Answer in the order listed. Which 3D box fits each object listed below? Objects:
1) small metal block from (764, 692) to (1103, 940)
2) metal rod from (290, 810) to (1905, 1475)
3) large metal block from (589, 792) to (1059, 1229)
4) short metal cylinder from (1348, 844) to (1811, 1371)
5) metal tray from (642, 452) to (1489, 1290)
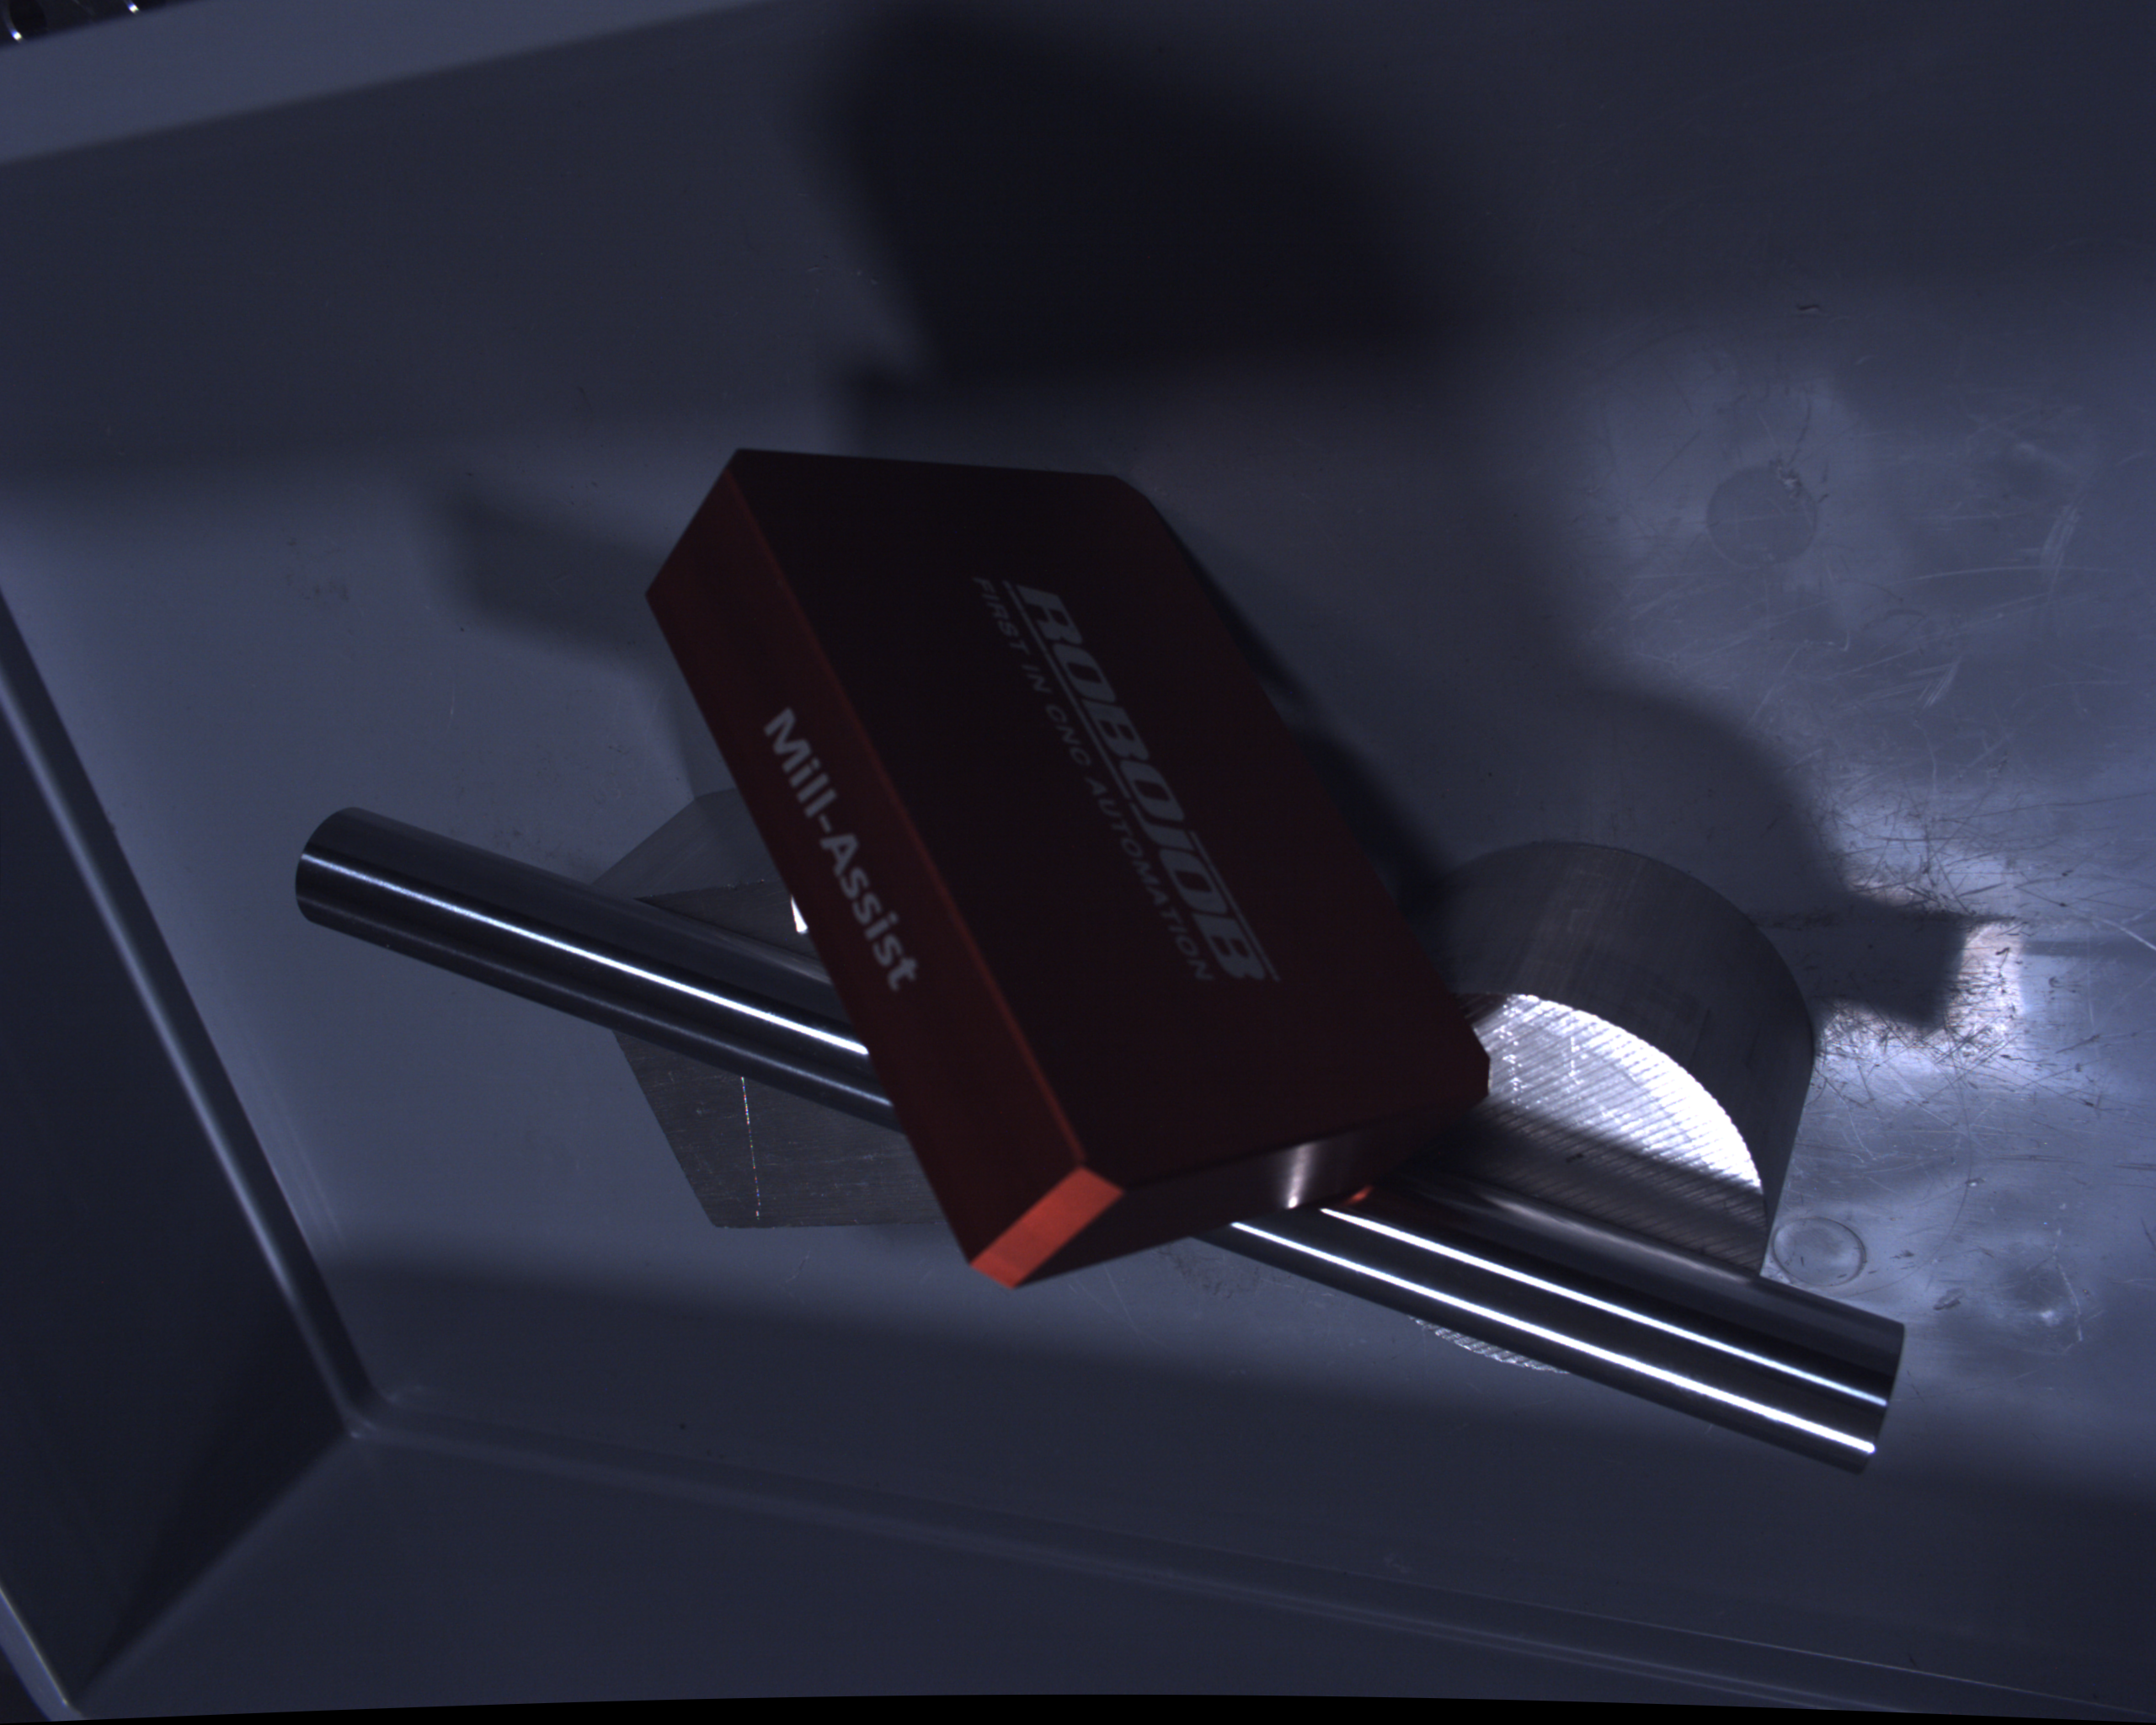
[{"bbox_3d":[-0.027,-0.016,0.366,0.050,0.025,0.050,-15,77,5],"label":"small metal block"},{"bbox_3d":[-0.012,0.043,0.372,0.301,0.025,0.025,17,125,18],"label":"metal rod"},{"bbox_3d":[-0.048,0.027,0.432,0.080,0.050,0.080,-8,115,31],"label":"large metal block"},{"bbox_3d":[0.085,0.044,0.372,0.080,0.050,0.079,13,124,20],"label":"short metal cylinder"},{"bbox_3d":[-0.002,-0.005,0.329,0.030,0.091,0.130,-47,61,38],"label":"metal tray"}]
